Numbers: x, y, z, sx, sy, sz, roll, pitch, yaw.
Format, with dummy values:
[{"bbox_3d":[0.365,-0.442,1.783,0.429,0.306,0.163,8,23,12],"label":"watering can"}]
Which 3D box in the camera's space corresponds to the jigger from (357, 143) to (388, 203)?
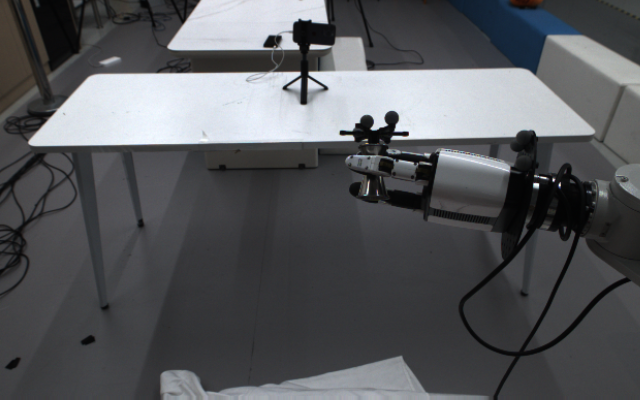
[{"bbox_3d":[0.067,-0.037,0.627,0.043,0.071,0.043,2,-6,0],"label":"jigger"}]
